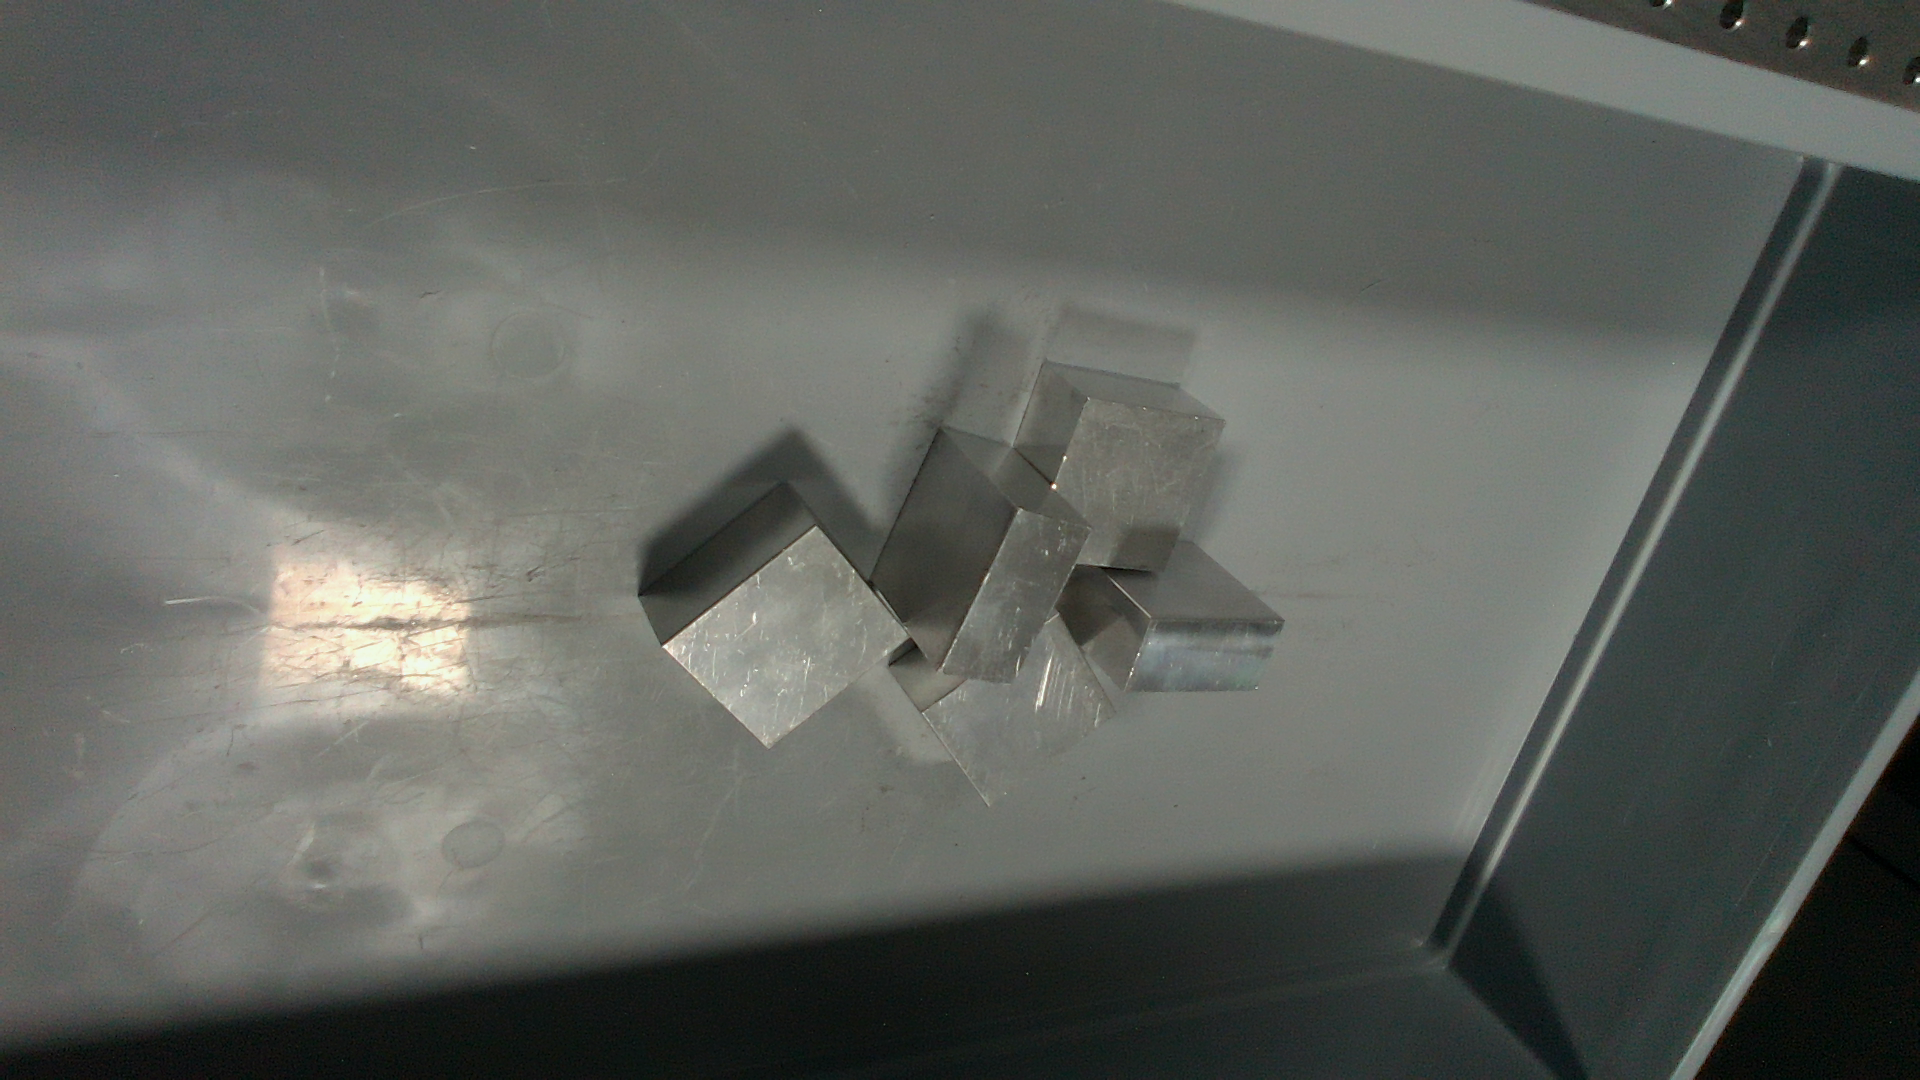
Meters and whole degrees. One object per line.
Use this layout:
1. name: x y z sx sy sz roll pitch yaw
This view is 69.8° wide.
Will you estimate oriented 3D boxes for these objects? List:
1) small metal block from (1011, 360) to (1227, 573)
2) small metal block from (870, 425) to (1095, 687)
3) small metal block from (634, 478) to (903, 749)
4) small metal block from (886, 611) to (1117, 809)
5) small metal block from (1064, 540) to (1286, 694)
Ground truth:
1. small metal block: 0.042 -0.020 0.398 0.050 0.025 0.050 6 115 -31
2. small metal block: 0.004 0.004 0.376 0.025 0.050 0.050 13 112 -34
3. small metal block: -0.050 0.020 0.373 0.050 0.025 0.050 -39 129 -2
4. small metal block: 0.013 0.046 0.422 0.050 0.025 0.050 -35 129 -5
5. small metal block: 0.061 0.022 0.417 0.050 0.050 0.025 3 117 -30
